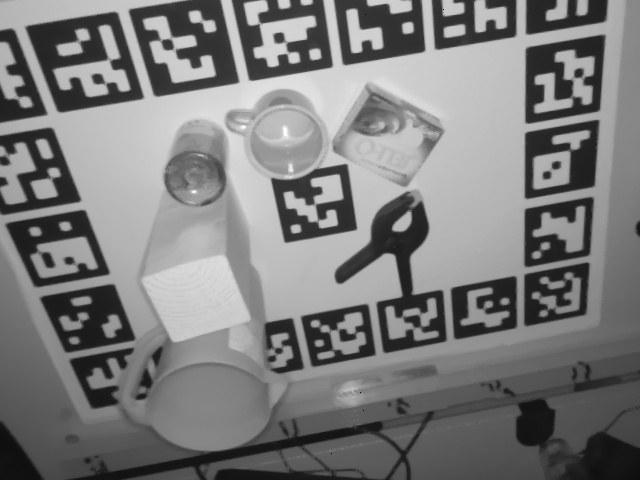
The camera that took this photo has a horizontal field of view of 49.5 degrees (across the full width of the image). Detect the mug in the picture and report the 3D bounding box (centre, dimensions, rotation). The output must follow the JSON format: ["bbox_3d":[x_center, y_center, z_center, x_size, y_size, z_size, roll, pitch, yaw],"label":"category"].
[{"bbox_3d":[-0.043,-0.115,0.791,0.118,0.082,0.092,23,117,-19],"label":"mug"}]

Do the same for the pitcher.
[{"bbox_3d":[-0.139,0.142,0.834,0.189,0.243,0.132,-11,123,-3],"label":"pitcher"}]

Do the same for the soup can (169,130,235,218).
[{"bbox_3d":[-0.131,-0.078,0.788,0.068,0.102,0.067,-3,118,-4],"label":"soup can"}]

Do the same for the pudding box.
[{"bbox_3d":[0.102,-0.109,0.840,0.115,0.039,0.089,24,111,-20],"label":"pudding box"}]

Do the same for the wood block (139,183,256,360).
[{"bbox_3d":[-0.132,0.027,0.787,0.090,0.207,0.090,-10,121,4],"label":"wood block"}]

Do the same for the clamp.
[{"bbox_3d":[0.102,0.028,0.925,0.122,0.037,0.163,19,115,-9],"label":"clamp"}]
